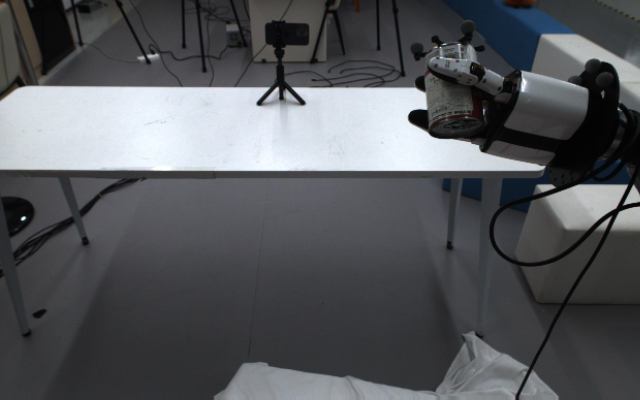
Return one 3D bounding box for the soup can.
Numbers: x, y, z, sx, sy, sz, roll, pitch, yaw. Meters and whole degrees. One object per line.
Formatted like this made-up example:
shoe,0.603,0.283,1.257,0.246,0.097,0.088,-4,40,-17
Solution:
soup can,0.166,-0.139,0.607,0.067,0.067,0.101,0,75,-4
